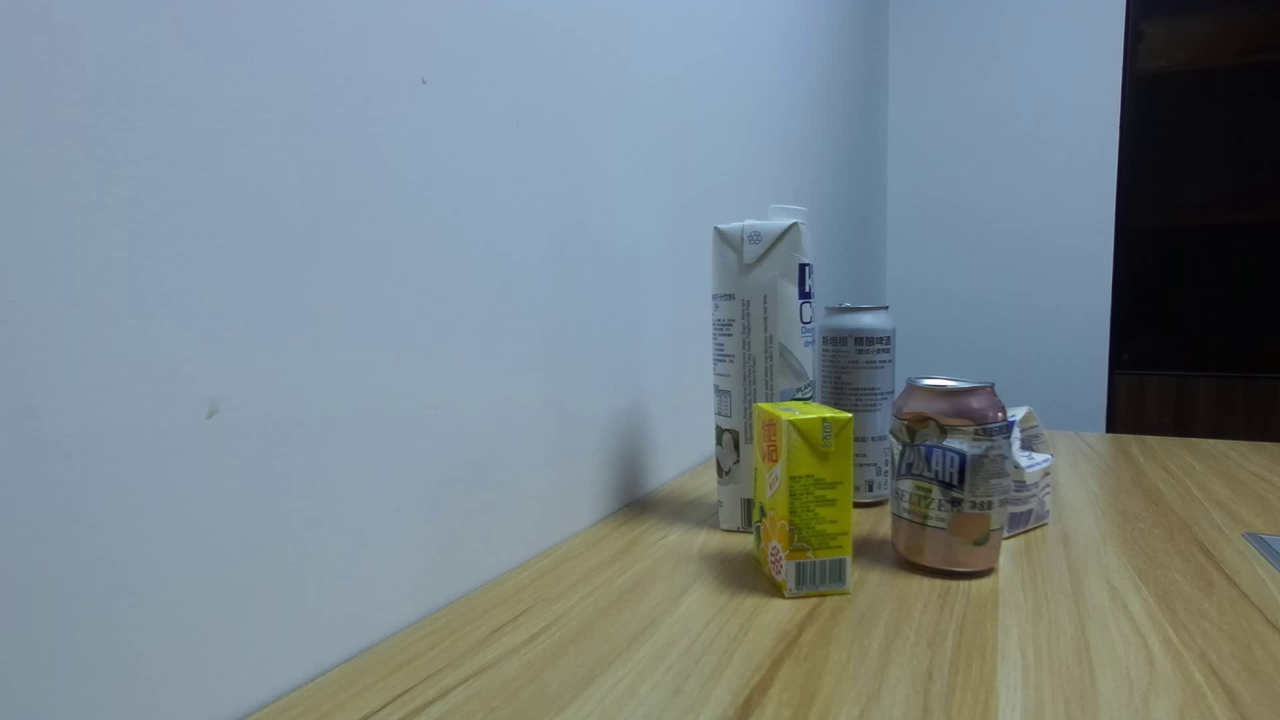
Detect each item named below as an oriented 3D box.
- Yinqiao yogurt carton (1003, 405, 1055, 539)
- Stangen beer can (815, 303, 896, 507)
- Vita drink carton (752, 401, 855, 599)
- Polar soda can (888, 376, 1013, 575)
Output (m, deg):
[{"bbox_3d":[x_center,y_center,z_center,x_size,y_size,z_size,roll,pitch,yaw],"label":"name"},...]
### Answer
[{"bbox_3d":[0.272,0.079,0.550,0.077,0.093,0.083,-5,8,-32],"label":"Yinqiao yogurt carton"},{"bbox_3d":[0.187,0.041,0.609,0.067,0.171,0.067,1,-4,0],"label":"Stangen beer can"},{"bbox_3d":[0.100,0.083,0.444,0.043,0.109,0.066,-1,5,-9],"label":"Vita drink carton"},{"bbox_3d":[0.203,0.074,0.470,0.067,0.121,0.074,1,7,1],"label":"Polar soda can"}]
